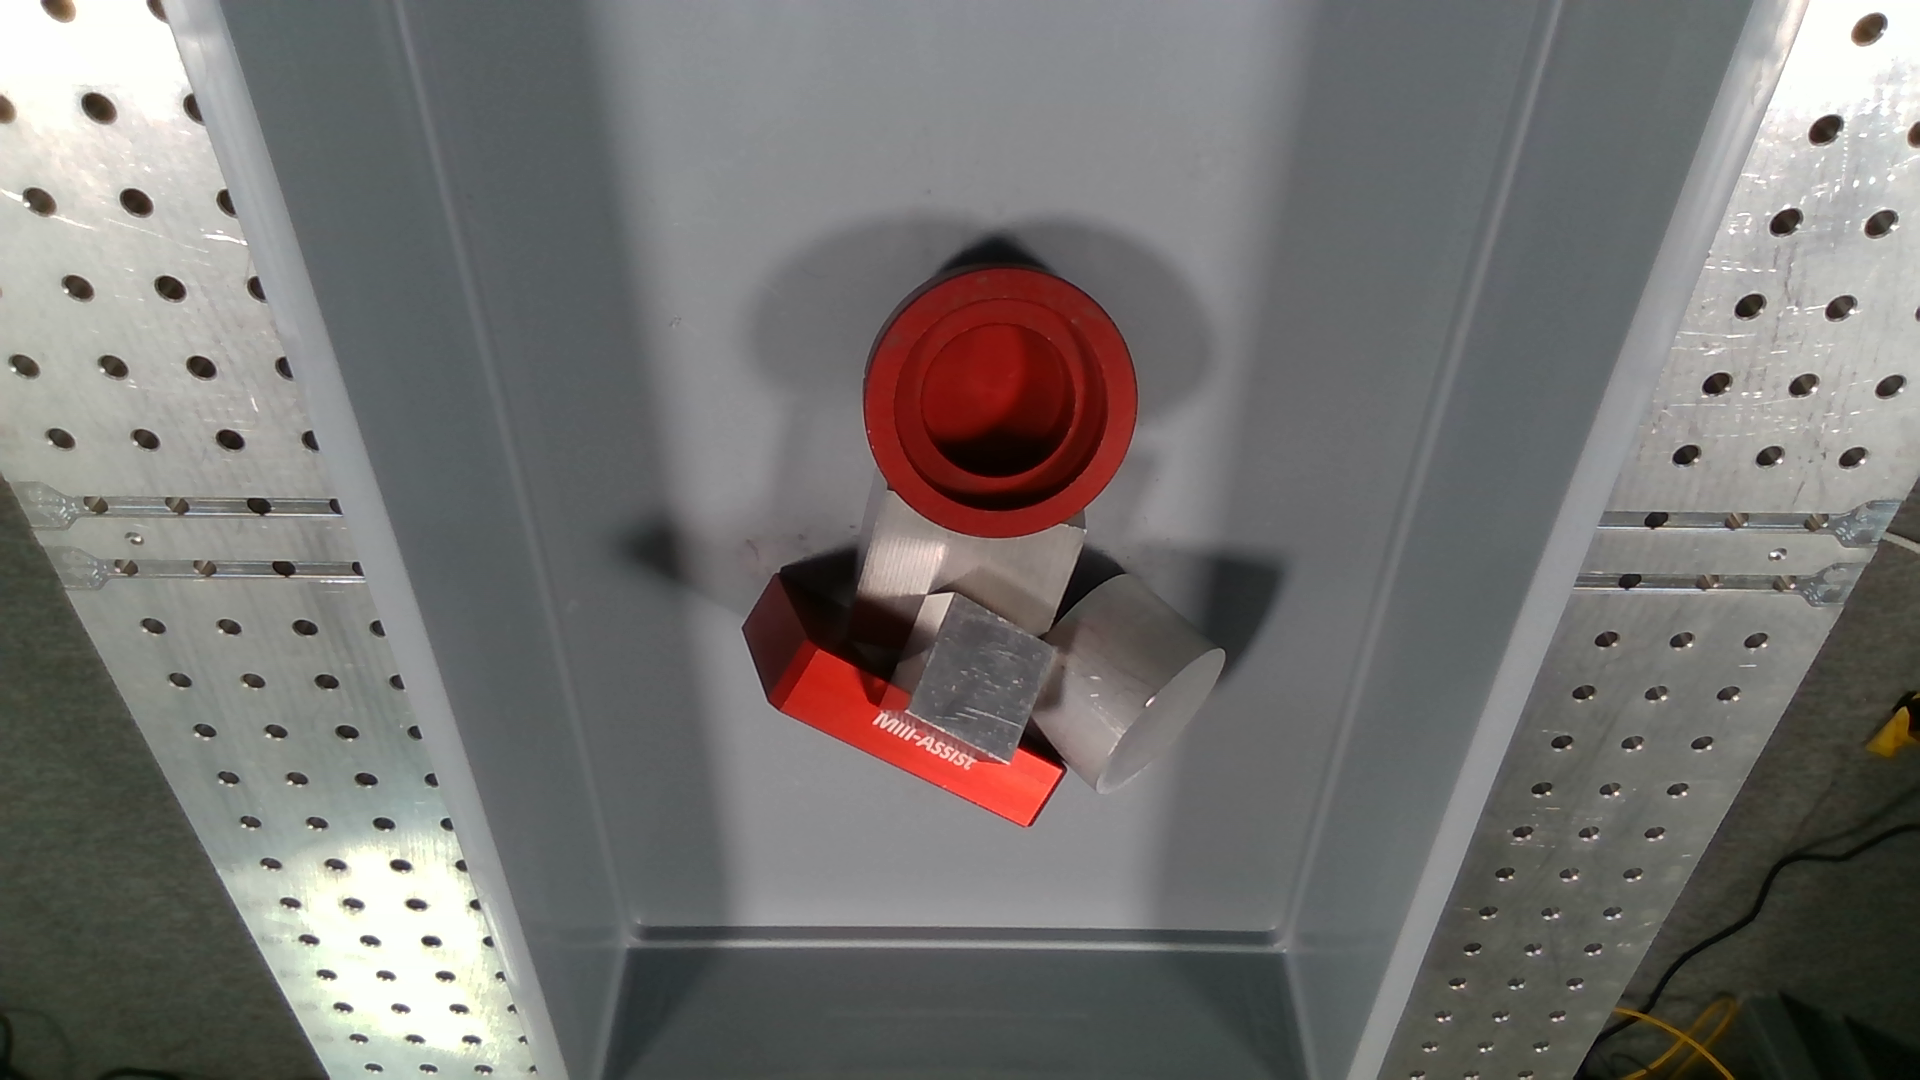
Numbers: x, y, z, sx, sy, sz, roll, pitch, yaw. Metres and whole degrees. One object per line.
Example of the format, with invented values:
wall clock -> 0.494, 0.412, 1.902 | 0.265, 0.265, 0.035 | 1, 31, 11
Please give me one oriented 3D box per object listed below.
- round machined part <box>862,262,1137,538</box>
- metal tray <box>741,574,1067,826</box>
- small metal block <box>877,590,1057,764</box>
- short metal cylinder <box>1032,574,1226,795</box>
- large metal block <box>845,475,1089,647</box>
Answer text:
round machined part -> 0.013, -0.053, 0.507 | 0.098, 0.042, 0.098 | -2, 107, -5
metal tray -> -0.026, 0.067, 0.590 | 0.130, 0.090, 0.030 | 29, 97, -23
small metal block -> 0.003, 0.054, 0.539 | 0.050, 0.050, 0.025 | 30, 162, -22
short metal cylinder -> 0.067, 0.062, 0.585 | 0.050, 0.080, 0.080 | 41, 133, 24
large metal block -> 0.001, 0.002, 0.563 | 0.080, 0.050, 0.080 | 11, 129, -9
